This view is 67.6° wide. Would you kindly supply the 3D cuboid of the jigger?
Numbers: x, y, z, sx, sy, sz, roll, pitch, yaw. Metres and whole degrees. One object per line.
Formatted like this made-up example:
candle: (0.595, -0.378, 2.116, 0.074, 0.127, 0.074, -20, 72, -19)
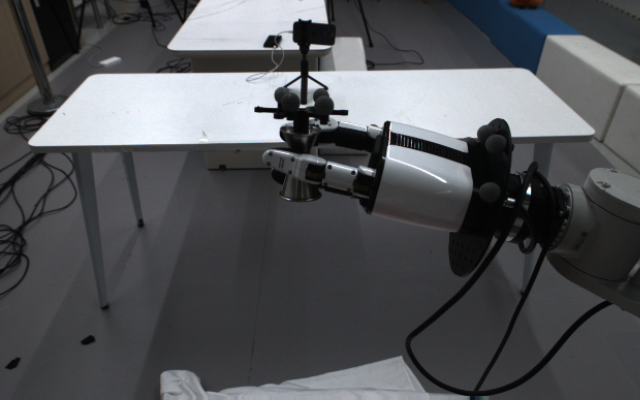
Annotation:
jigger: (-0.019, -0.038, 0.487, 0.043, 0.071, 0.043, 1, 20, 0)
